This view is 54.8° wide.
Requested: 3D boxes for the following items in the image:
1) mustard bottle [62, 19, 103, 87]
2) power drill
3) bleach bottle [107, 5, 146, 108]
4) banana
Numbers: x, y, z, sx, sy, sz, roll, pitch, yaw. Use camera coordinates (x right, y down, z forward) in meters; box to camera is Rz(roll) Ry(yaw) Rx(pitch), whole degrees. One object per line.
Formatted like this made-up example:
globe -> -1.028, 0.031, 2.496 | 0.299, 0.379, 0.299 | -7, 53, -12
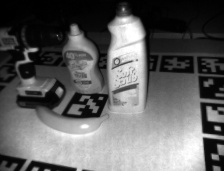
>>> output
mustard bottle -> -0.083, -0.084, 0.584 | 0.095, 0.193, 0.058 | 4, 41, 12
power drill -> -0.197, -0.065, 0.547 | 0.184, 0.188, 0.057 | 3, 34, 8
bleach bottle -> 0.028, -0.056, 0.501 | 0.102, 0.252, 0.067 | -3, 41, 6
banana -> -0.101, 0.065, 0.525 | 0.196, 0.039, 0.074 | 4, 45, 16
